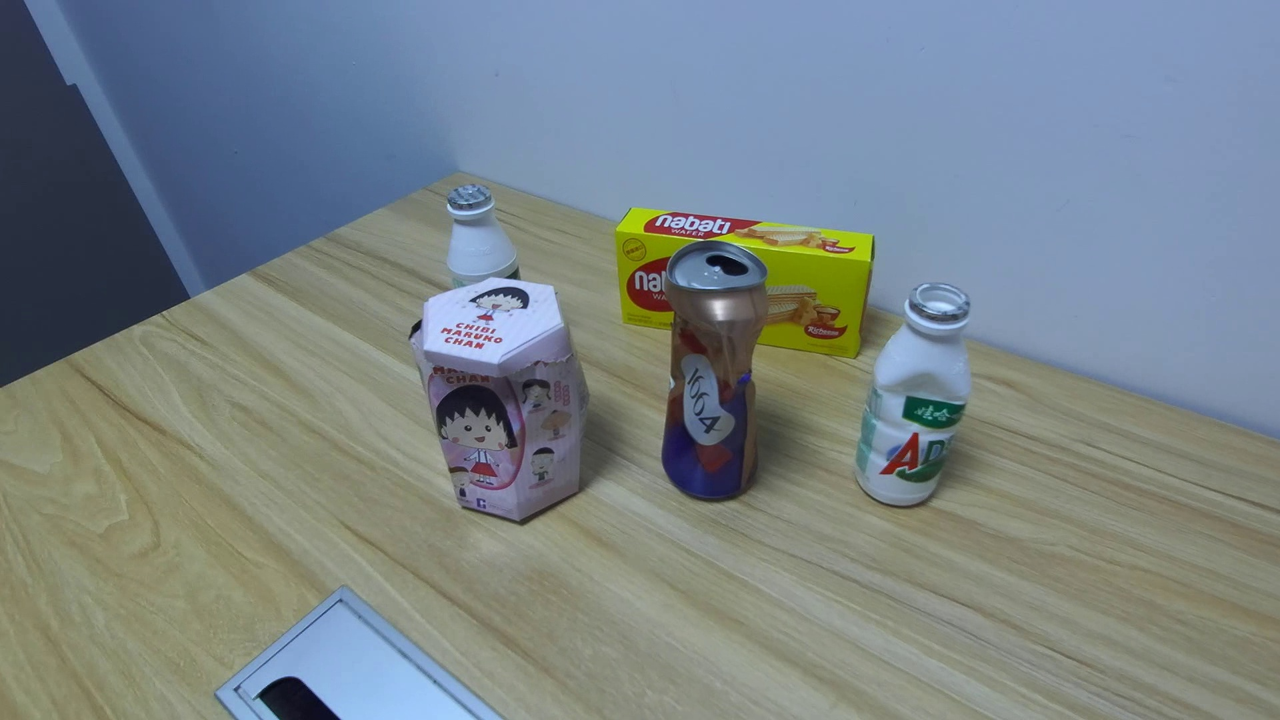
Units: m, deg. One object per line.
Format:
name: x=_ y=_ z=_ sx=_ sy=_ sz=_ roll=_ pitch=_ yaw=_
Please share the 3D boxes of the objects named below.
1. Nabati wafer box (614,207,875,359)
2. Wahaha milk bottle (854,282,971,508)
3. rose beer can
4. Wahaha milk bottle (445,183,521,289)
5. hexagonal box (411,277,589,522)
Nabati wafer box: x=0.082 y=-0.063 z=0.572 sx=0.202 sy=0.093 sz=0.042 roll=10 pitch=40 yaw=15
Wahaha milk bottle: x=0.164 y=0.024 z=0.420 sx=0.056 sy=0.148 sz=0.056 roll=-2 pitch=41 yaw=2
rose beer can: x=0.044 y=0.012 z=0.433 sx=0.073 sy=0.162 sz=0.068 roll=25 pitch=45 yaw=29
Wahaha milk bottle: x=-0.118 y=-0.060 z=0.547 sx=0.053 sy=0.147 sz=0.053 roll=-4 pitch=30 yaw=2
hexagonal box: x=-0.086 y=0.025 z=0.450 sx=0.090 sy=0.135 sz=0.091 roll=-21 pitch=41 yaw=-24
